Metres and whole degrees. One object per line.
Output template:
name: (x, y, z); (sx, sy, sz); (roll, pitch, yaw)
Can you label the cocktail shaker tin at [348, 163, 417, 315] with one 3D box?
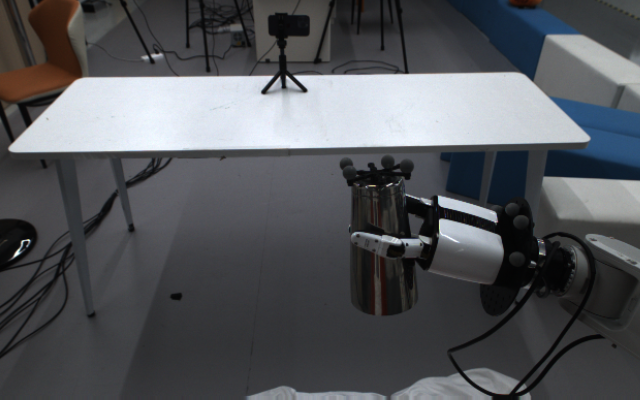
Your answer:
cocktail shaker tin: (0.081, 0.053, 0.636); (0.093, 0.170, 0.093); (-6, 19, 2)
